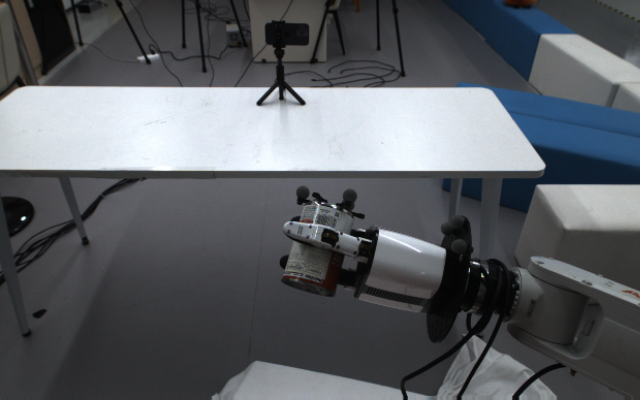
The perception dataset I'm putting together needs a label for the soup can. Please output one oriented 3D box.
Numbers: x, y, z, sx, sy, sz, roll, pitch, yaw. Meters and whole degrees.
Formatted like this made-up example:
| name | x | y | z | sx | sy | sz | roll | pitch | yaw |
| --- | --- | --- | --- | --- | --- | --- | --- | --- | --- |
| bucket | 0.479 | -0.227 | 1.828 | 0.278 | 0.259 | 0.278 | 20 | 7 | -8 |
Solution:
| name | x | y | z | sx | sy | sz | roll | pitch | yaw |
| --- | --- | --- | --- | --- | --- | --- | --- | --- | --- |
| soup can | 0.000 | 0.061 | 0.597 | 0.067 | 0.067 | 0.101 | 11 | 72 | 13 |
